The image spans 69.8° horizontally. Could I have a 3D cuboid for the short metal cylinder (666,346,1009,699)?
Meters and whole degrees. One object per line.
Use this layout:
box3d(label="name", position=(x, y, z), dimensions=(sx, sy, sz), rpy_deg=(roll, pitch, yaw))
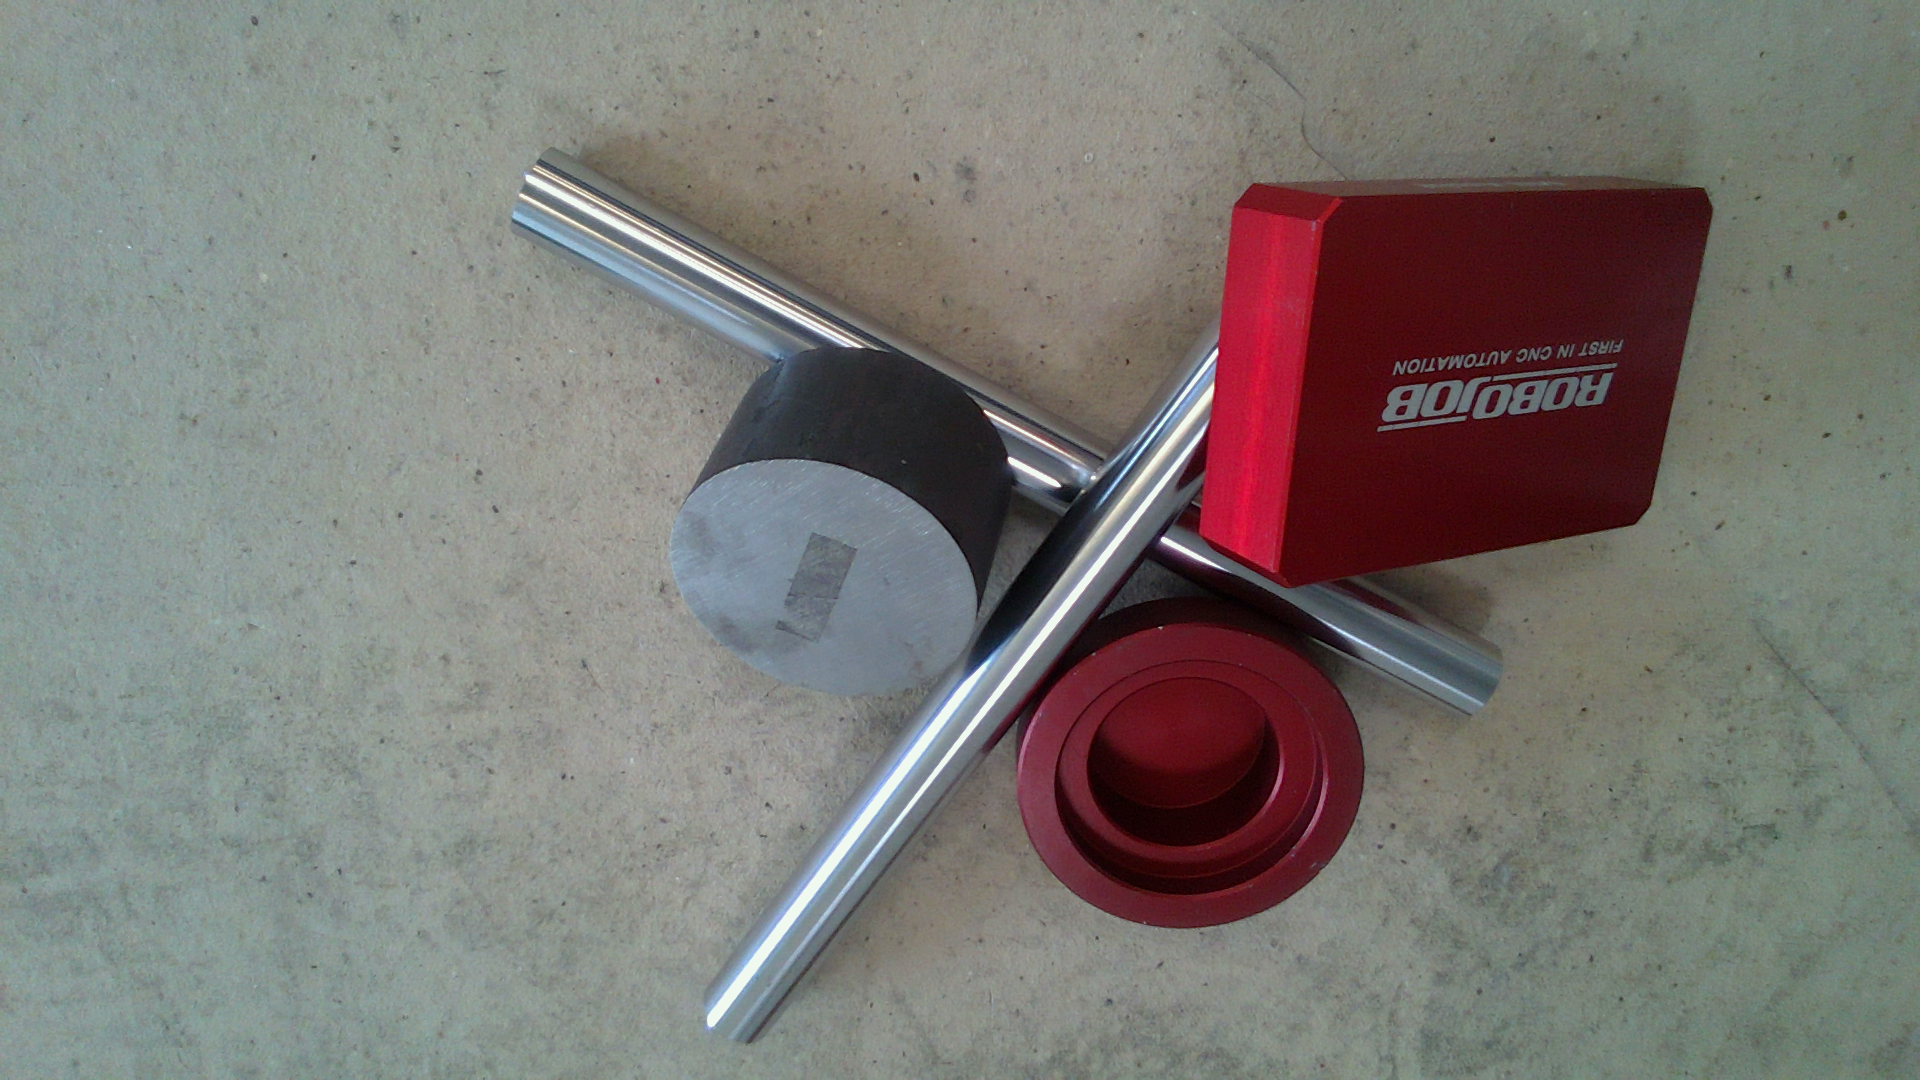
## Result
box3d(label="short metal cylinder", position=(-0.031, -0.004, 0.365), dimensions=(0.080, 0.050, 0.080), rpy_deg=(7, 131, 9))

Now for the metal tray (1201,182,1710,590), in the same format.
box3d(label="metal tray", position=(0.125, -0.043, 0.346), dimensions=(0.130, 0.030, 0.090), rpy_deg=(-9, 113, -27))

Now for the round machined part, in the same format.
box3d(label="round machined part", position=(0.065, 0.062, 0.408), dimensions=(0.098, 0.042, 0.098), rpy_deg=(0, 110, 0))

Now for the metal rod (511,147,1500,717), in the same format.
box3d(label="metal rod", position=(0.020, -0.025, 0.386), dimensions=(0.300, 0.025, 0.025), rpy_deg=(27, 108, -10))

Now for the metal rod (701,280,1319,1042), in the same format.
box3d(label="metal rod", position=(0.007, 0.042, 0.391), dimensions=(0.025, 0.025, 0.299), rpy_deg=(31, 114, -11))
